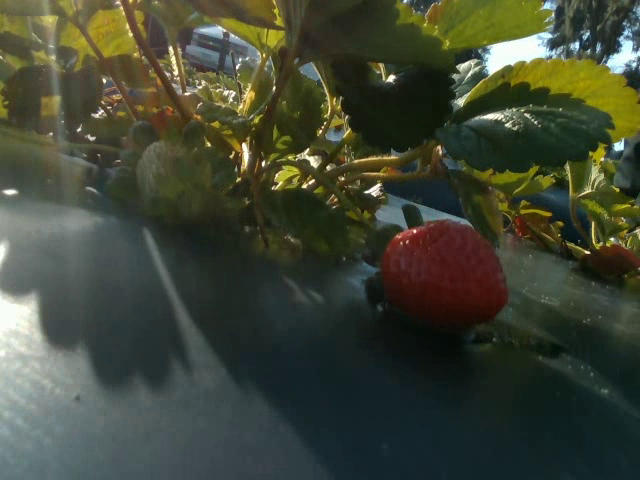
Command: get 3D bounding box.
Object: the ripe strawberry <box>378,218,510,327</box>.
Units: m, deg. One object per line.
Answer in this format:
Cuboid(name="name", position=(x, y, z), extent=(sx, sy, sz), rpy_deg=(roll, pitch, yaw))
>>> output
Cuboid(name="ripe strawberry", position=(0.033, 0.010, 0.138), extent=(0.030, 0.033, 0.044), rpy_deg=(-28, 18, -7))
